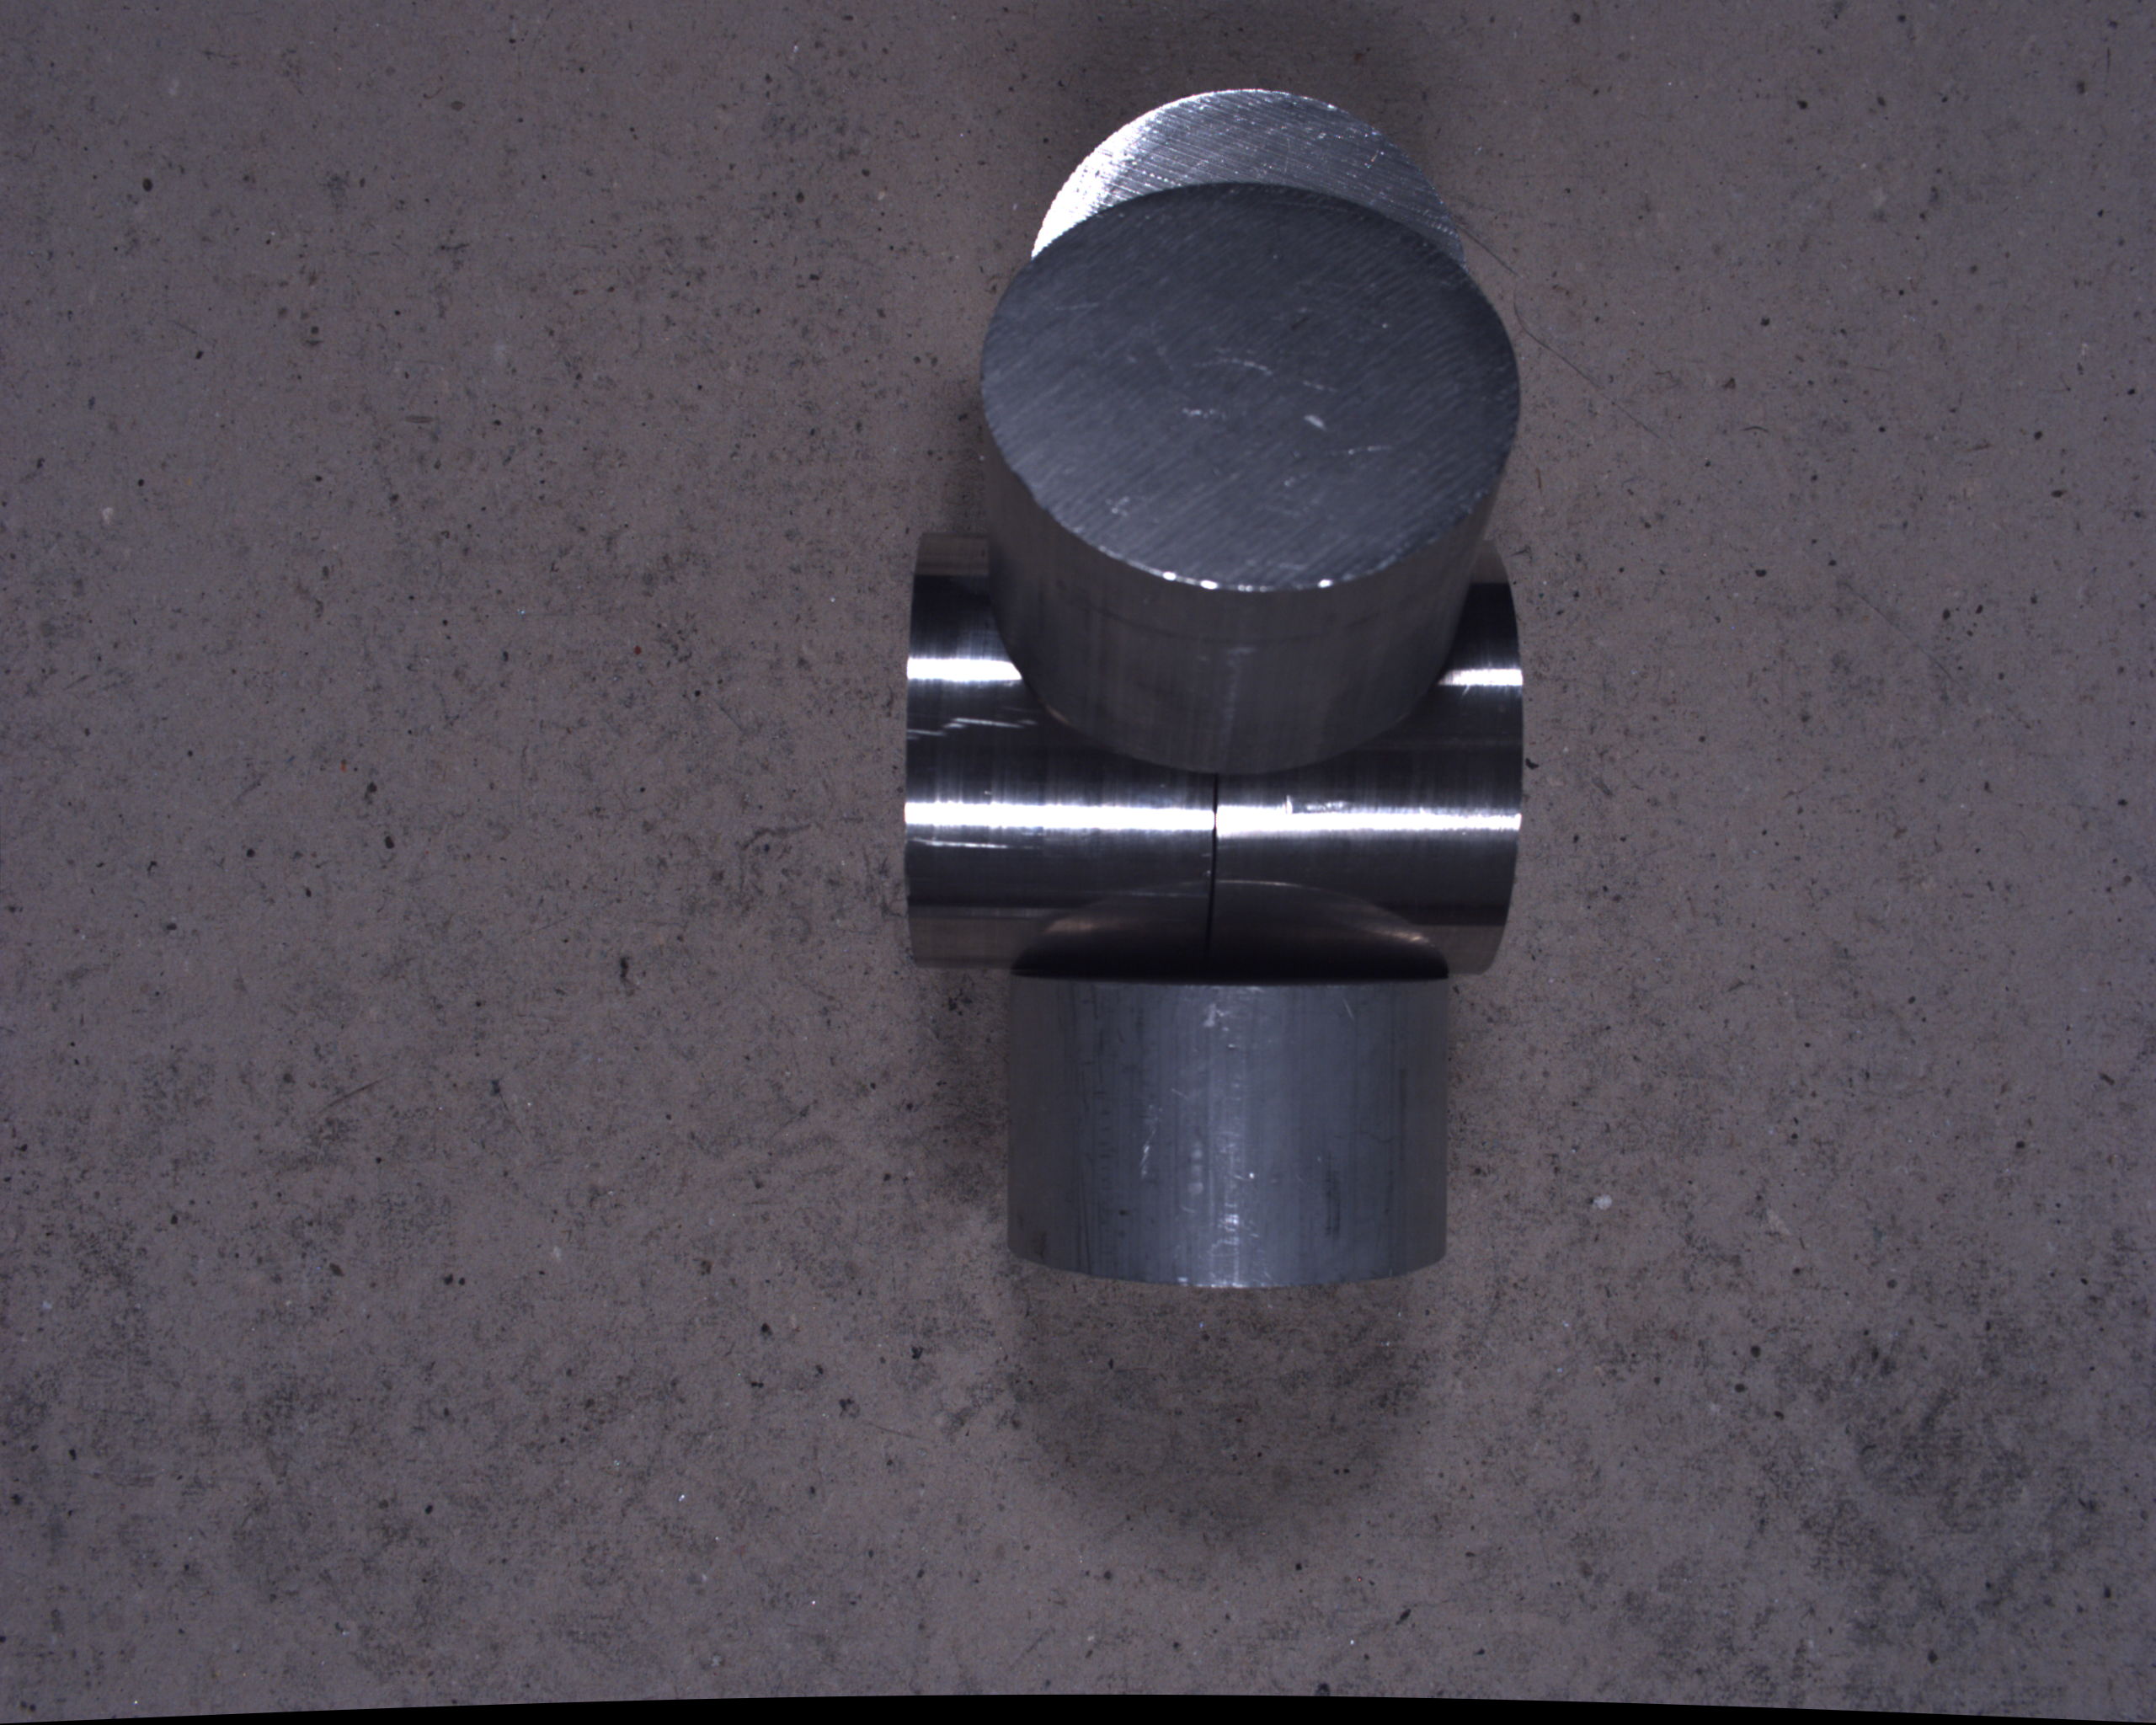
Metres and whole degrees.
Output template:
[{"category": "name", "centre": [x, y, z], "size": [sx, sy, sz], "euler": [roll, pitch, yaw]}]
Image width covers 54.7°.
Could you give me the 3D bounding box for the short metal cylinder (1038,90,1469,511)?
[{"category": "short metal cylinder", "centre": [0.031, -0.099, 0.400], "size": [0.081, 0.050, 0.079], "euler": [0, 90, -1]}]

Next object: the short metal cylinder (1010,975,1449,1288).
[{"category": "short metal cylinder", "centre": [0.027, 0.045, 0.384], "size": [0.081, 0.080, 0.050], "euler": [0, 90, -1]}]

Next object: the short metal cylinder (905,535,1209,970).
[{"category": "short metal cylinder", "centre": [-0.004, -0.020, 0.384], "size": [0.050, 0.080, 0.079], "euler": [1, 90, -1]}]

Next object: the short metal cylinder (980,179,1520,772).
[{"category": "short metal cylinder", "centre": [0.025, -0.061, 0.333], "size": [0.081, 0.050, 0.080], "euler": [1, 61, -1]}]

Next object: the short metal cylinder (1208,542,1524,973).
[{"category": "short metal cylinder", "centre": [0.049, -0.019, 0.384], "size": [0.050, 0.080, 0.079], "euler": [0, 90, 0]}]
